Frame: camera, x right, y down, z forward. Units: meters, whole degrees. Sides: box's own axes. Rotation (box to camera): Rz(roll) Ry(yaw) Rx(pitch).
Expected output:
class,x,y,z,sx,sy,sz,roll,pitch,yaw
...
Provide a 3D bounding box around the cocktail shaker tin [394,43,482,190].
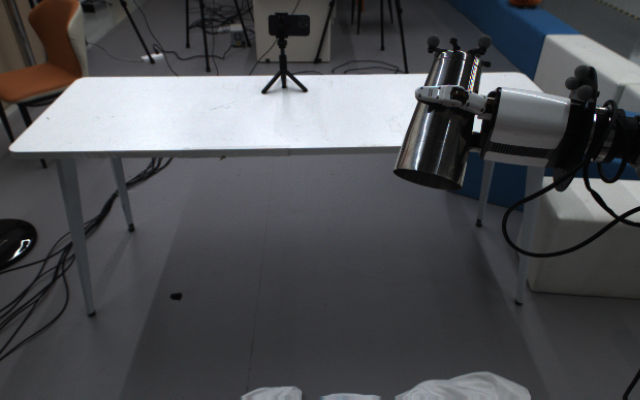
class,x,y,z,sx,sy,sz,roll,pitch,yaw
cocktail shaker tin,0.165,-0.109,0.651,0.093,0.170,0.093,16,-6,2
